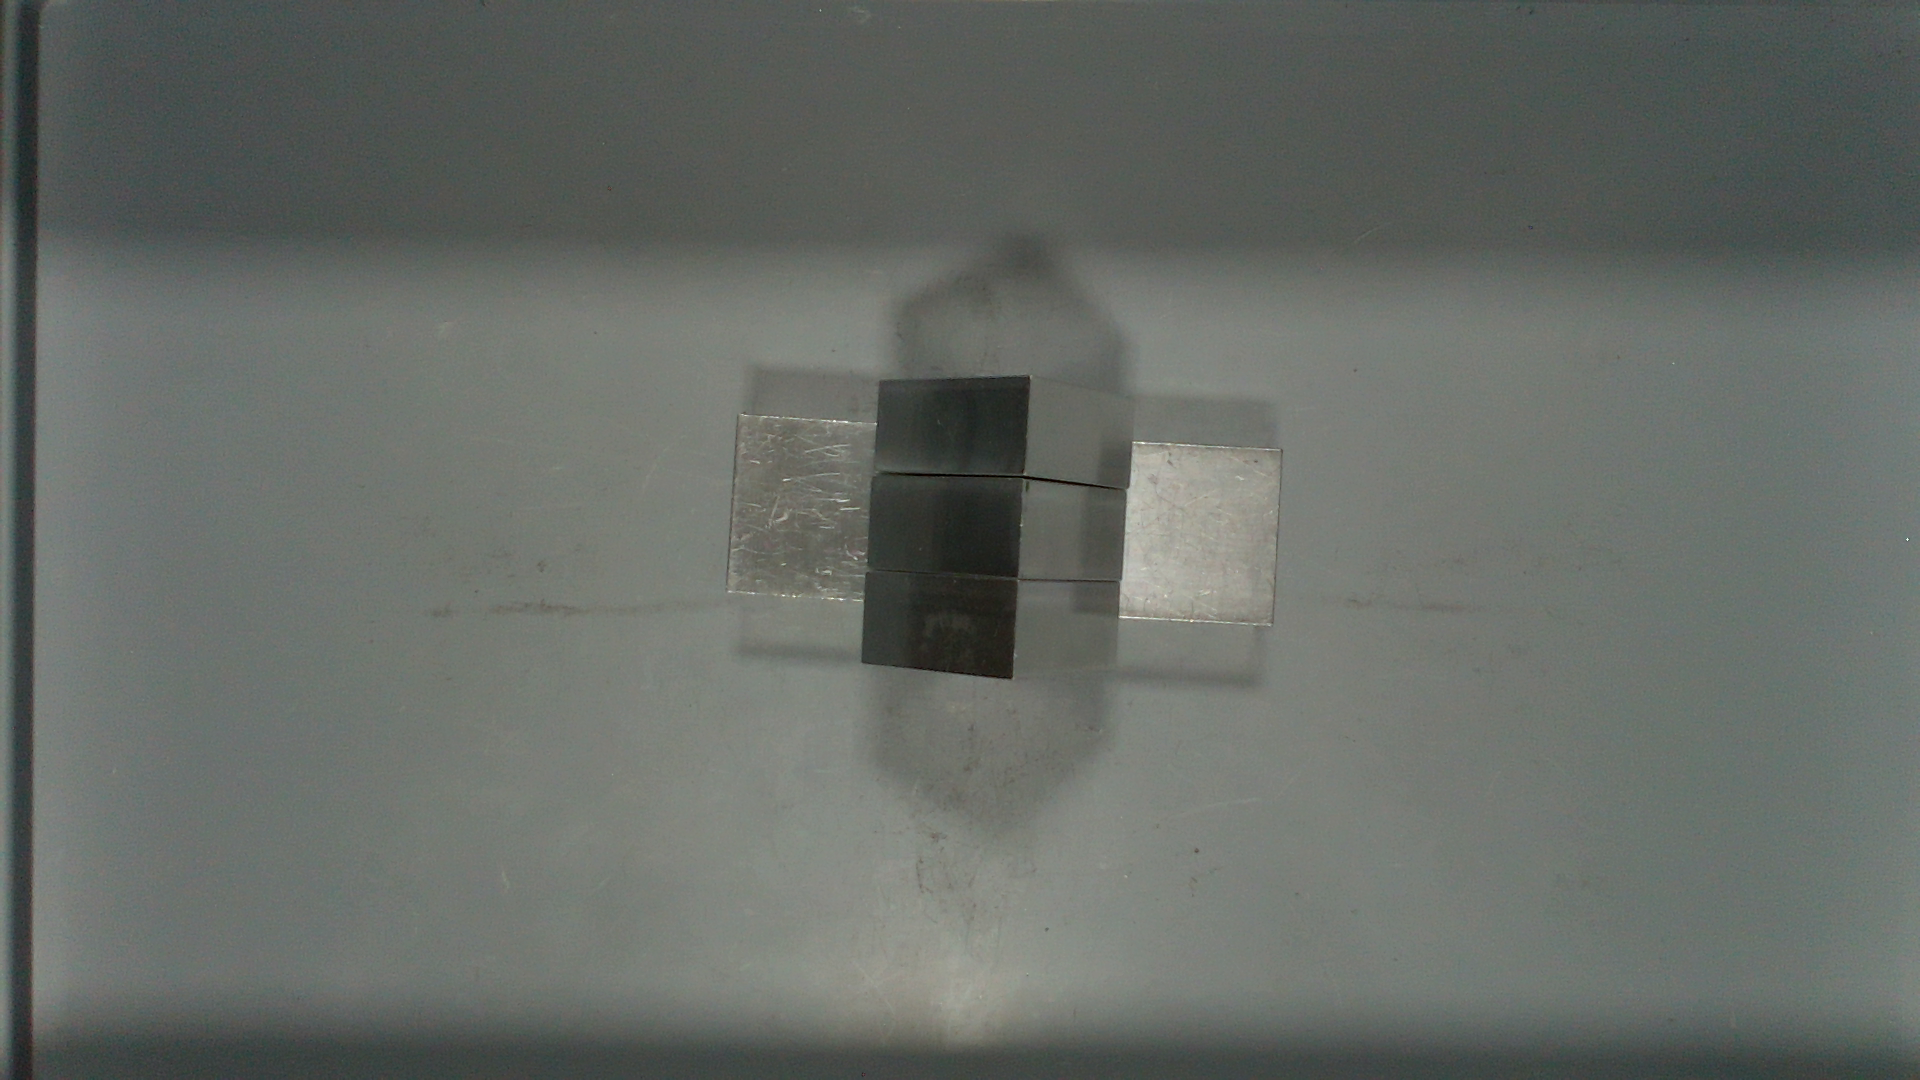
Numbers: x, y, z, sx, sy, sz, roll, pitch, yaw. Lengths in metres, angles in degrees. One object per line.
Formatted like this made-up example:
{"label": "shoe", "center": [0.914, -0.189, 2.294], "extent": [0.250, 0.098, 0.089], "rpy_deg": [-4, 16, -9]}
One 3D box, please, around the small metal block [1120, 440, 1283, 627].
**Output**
{"label": "small metal block", "center": [0.064, -0.002, 0.395], "extent": [0.050, 0.025, 0.050], "rpy_deg": [3, 90, 0]}

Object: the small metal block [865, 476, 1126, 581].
{"label": "small metal block", "center": [0.010, -0.003, 0.372], "extent": [0.050, 0.050, 0.025], "rpy_deg": [2, 89, 36]}

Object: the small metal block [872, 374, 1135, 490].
{"label": "small metal block", "center": [0.012, -0.028, 0.371], "extent": [0.050, 0.050, 0.025], "rpy_deg": [3, 90, 36]}

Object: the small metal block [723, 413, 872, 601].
{"label": "small metal block", "center": [-0.039, -0.009, 0.394], "extent": [0.050, 0.025, 0.050], "rpy_deg": [4, 90, 0]}

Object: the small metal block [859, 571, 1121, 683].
{"label": "small metal block", "center": [0.009, 0.022, 0.372], "extent": [0.050, 0.050, 0.025], "rpy_deg": [2, 89, 36]}
